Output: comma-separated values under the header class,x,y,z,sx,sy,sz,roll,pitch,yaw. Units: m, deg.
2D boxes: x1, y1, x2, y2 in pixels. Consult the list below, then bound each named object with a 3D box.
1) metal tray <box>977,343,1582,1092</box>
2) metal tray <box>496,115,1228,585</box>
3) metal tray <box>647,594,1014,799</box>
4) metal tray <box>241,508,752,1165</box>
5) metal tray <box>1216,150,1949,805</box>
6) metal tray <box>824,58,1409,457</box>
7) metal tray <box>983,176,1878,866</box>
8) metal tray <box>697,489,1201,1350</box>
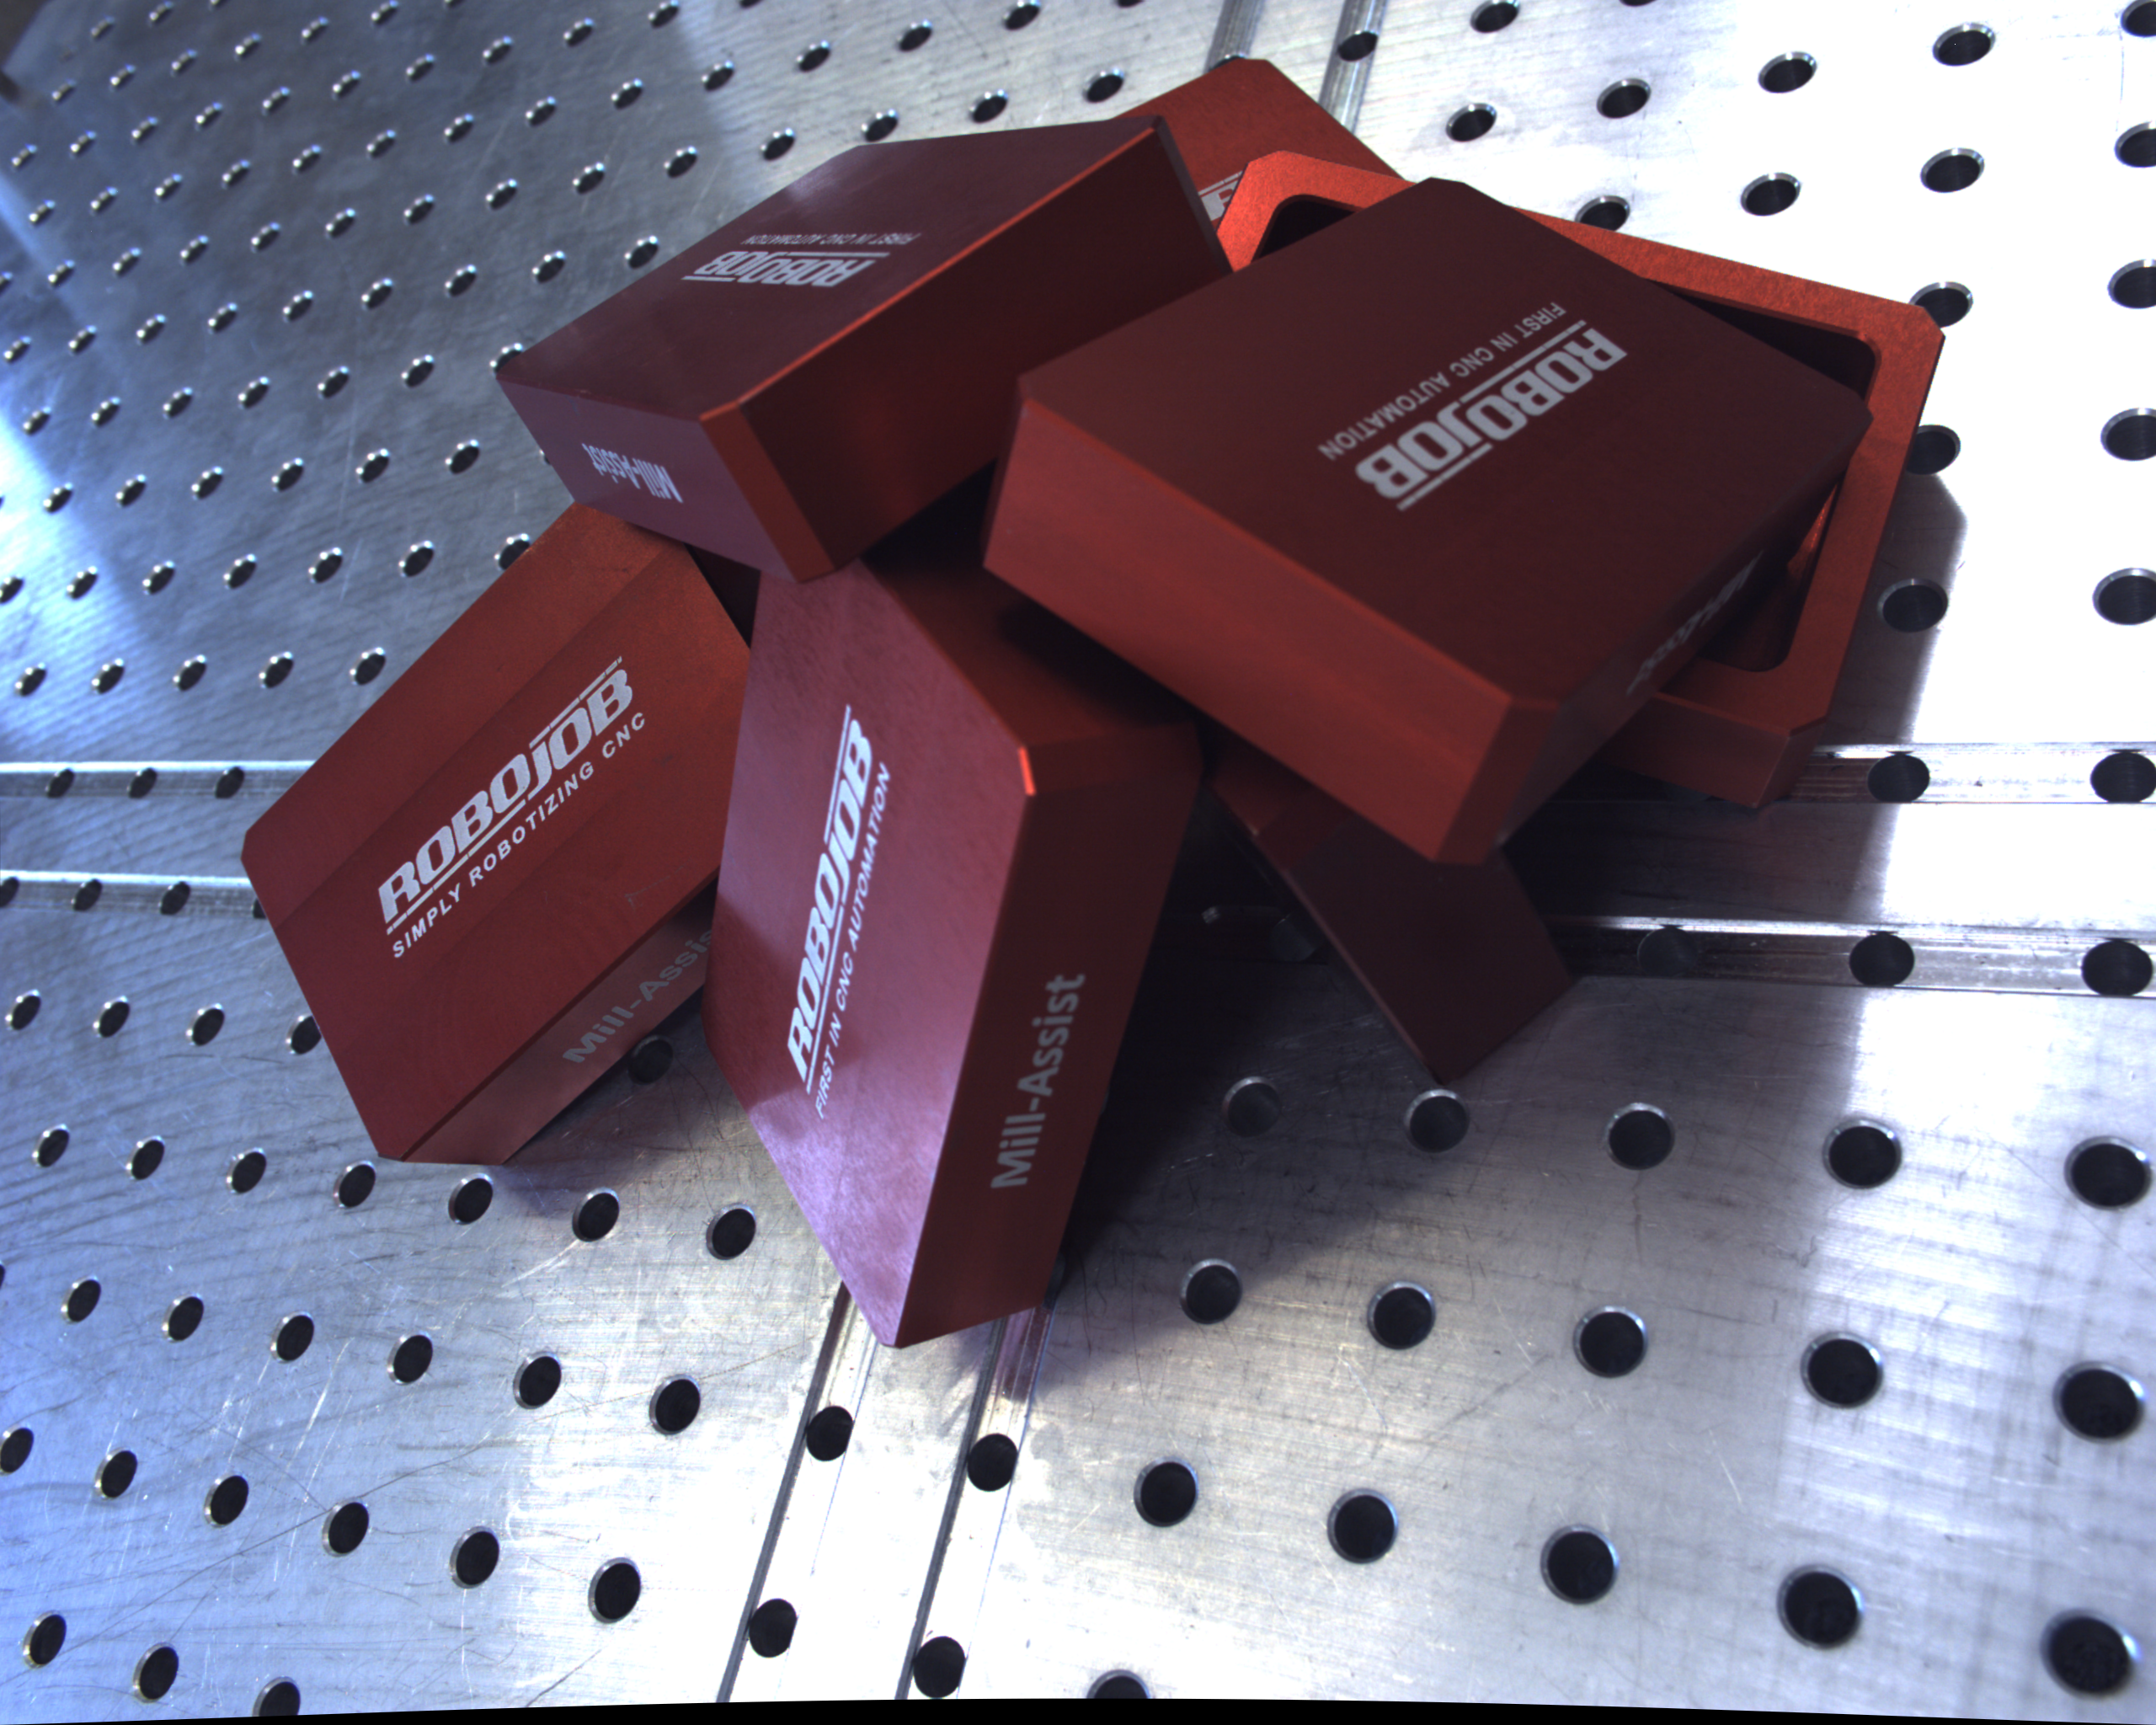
class,x,y,z,sx,sy,sz,roll,pitch,yaw
metal tray,0.028,-0.028,0.370,0.030,0.090,0.130,-39,50,3
metal tray,-0.044,-0.095,0.374,0.090,0.030,0.130,-38,29,-15
metal tray,-0.067,-0.051,0.472,0.130,0.030,0.090,-43,51,-2
metal tray,-0.110,-0.009,0.440,0.130,0.030,0.090,-41,66,15
metal tray,0.079,-0.073,0.381,0.130,0.030,0.090,19,70,14
metal tray,0.007,-0.117,0.450,0.131,0.030,0.090,-28,53,-8
metal tray,0.060,-0.061,0.331,0.090,0.030,0.131,35,45,18
metal tray,-0.029,0.008,0.360,0.030,0.129,0.090,-11,44,-31
